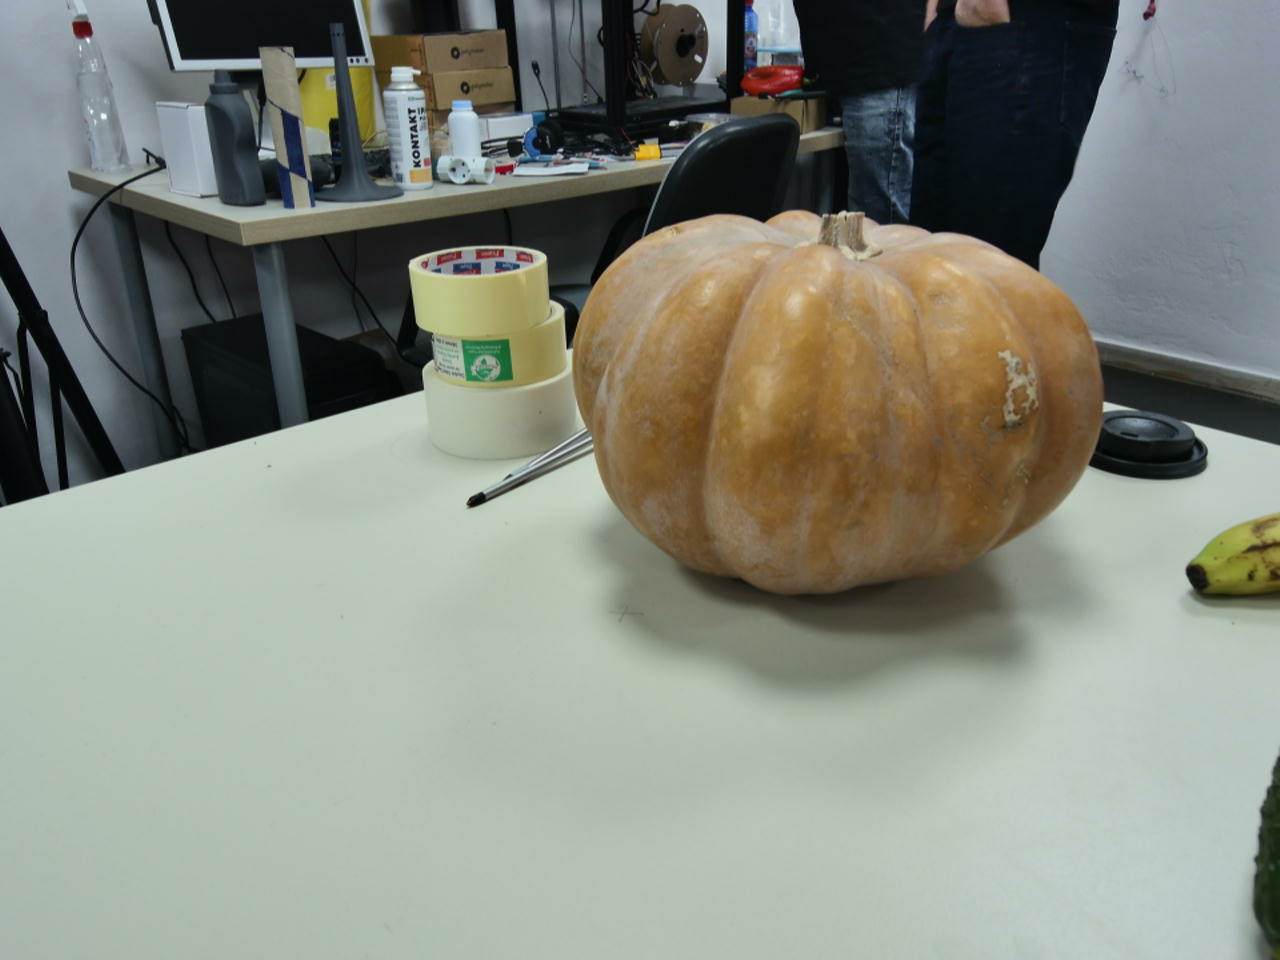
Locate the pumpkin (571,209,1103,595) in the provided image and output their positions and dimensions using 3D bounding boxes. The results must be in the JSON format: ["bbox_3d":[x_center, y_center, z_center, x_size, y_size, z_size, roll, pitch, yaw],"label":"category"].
[{"bbox_3d":[0.095,-0.050,0.532,0.277,0.181,0.277,0,24,0],"label":"pumpkin"}]
